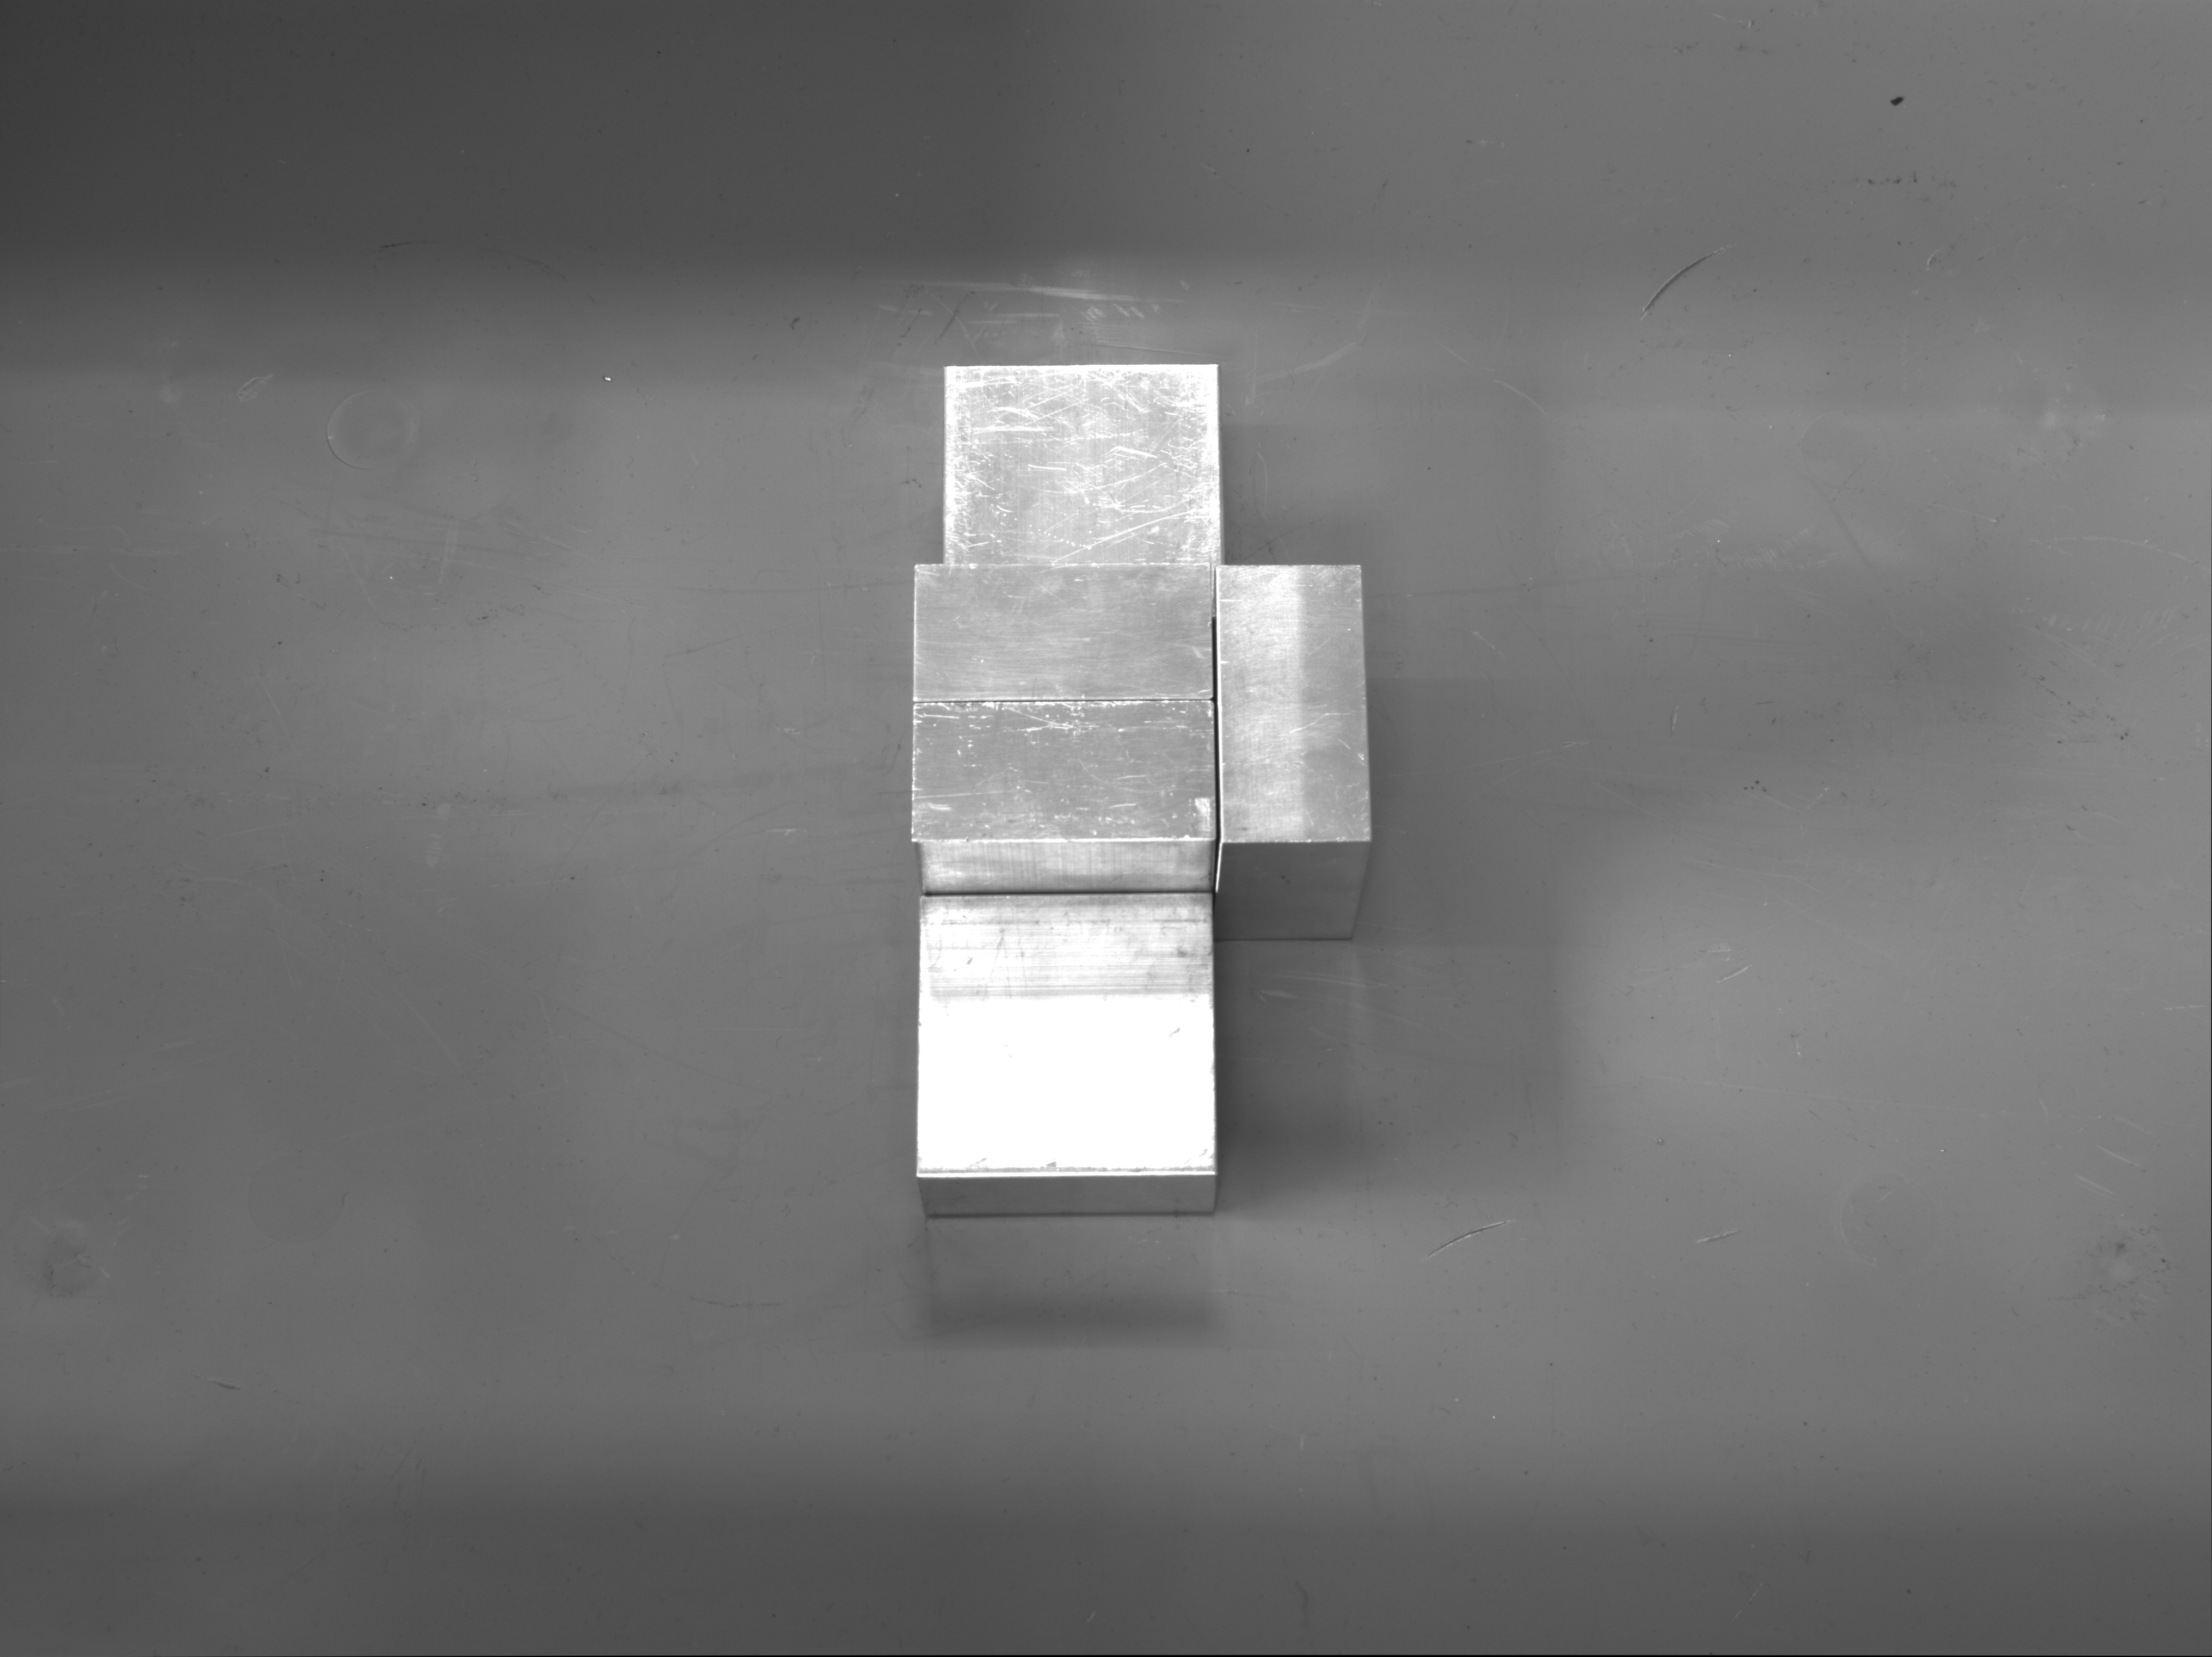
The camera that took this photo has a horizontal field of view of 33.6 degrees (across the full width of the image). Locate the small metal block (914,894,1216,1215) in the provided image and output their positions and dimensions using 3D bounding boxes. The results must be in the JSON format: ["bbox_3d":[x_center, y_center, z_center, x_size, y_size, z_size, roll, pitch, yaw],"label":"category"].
[{"bbox_3d":[-0.007,0.039,0.629,0.050,0.025,0.050,0,70,0],"label":"small metal block"}]

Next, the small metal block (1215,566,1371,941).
[{"bbox_3d":[0.031,-0.012,0.635,0.025,0.050,0.050,0,70,0],"label":"small metal block"}]

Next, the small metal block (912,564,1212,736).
[{"bbox_3d":[-0.007,-0.024,0.639,0.050,0.050,0.025,0,70,0],"label":"small metal block"}]

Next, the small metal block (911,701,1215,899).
[{"bbox_3d":[-0.007,-0.001,0.630,0.050,0.050,0.025,0,70,0],"label":"small metal block"}]

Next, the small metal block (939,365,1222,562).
[{"bbox_3d":[-0.004,-0.056,0.664,0.050,0.025,0.050,0,70,0],"label":"small metal block"}]
